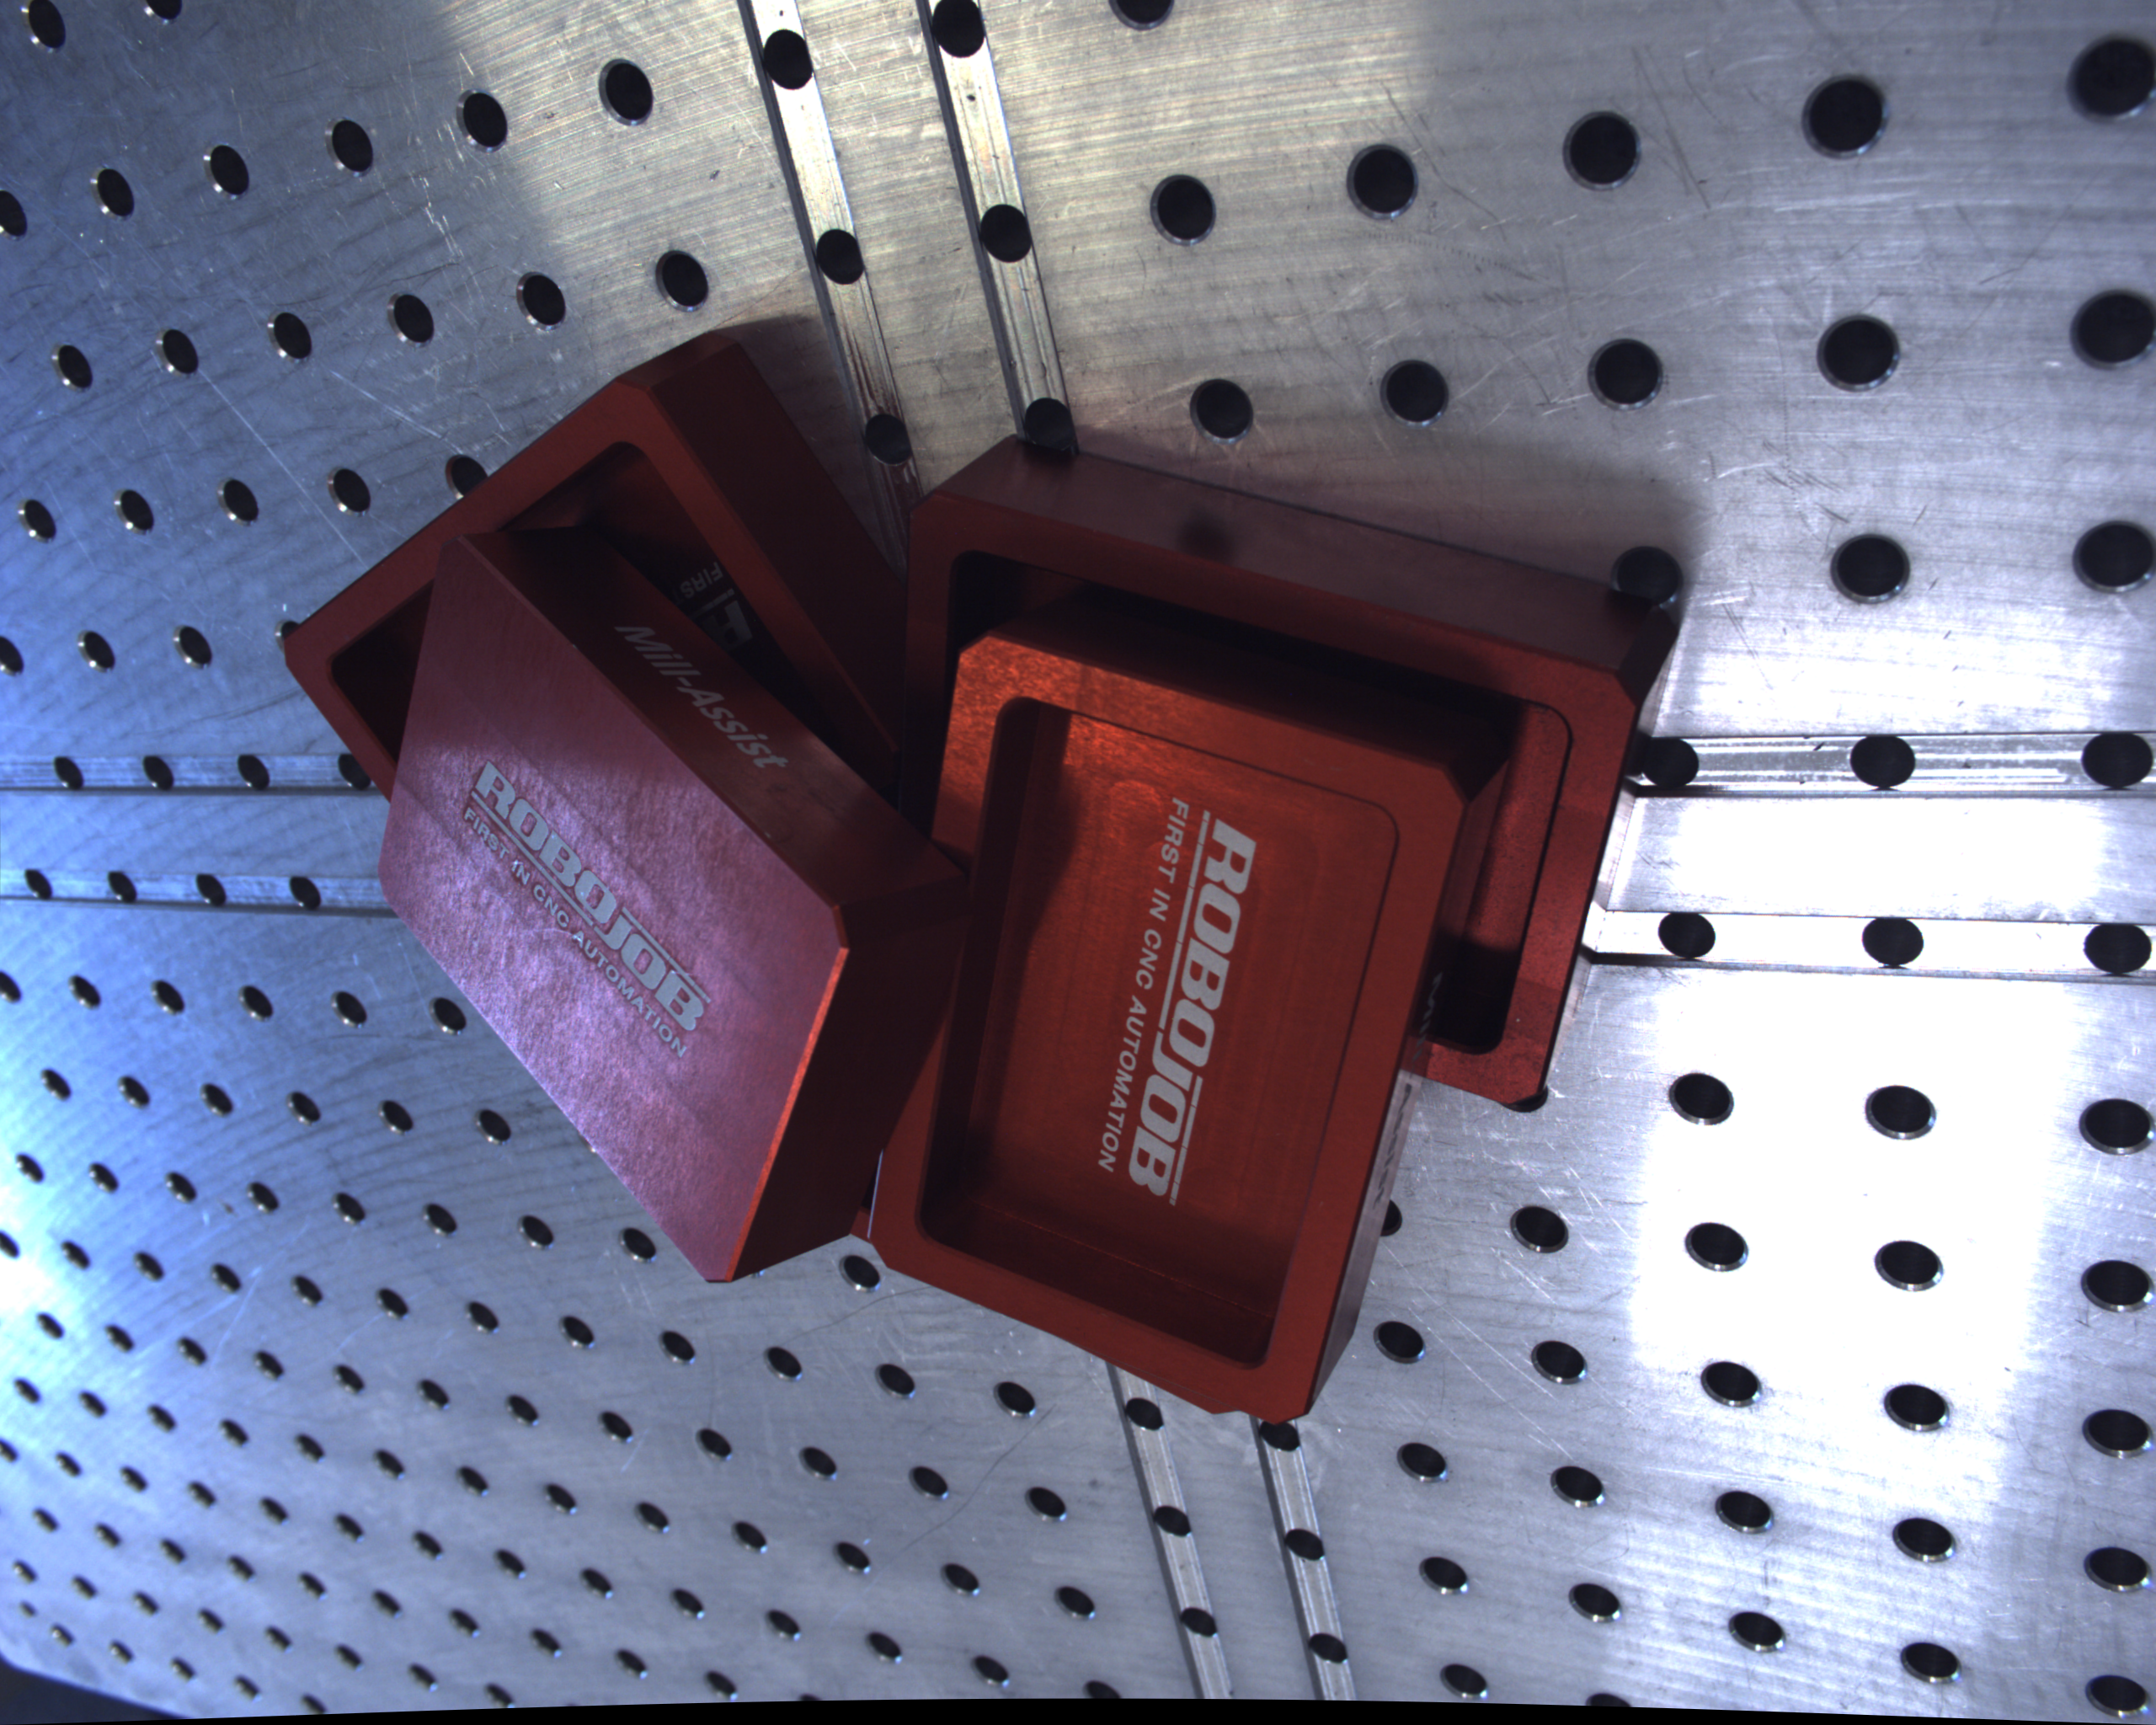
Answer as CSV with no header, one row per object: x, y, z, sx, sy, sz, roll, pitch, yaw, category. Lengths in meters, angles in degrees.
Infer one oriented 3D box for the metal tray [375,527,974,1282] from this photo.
-0.084,0.005,0.403,0.130,0.030,0.089,41,125,29,metal tray

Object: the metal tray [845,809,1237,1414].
-0.010,0.053,0.446,0.130,0.030,0.089,24,127,14,metal tray

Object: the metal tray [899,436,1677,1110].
0.032,-0.017,0.380,0.130,0.030,0.089,18,125,18,metal tray

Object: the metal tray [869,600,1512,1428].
0.017,0.028,0.376,0.090,0.030,0.129,18,114,18,metal tray

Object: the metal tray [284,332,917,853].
-0.097,-0.039,0.435,0.130,0.030,0.090,-24,105,37,metal tray
